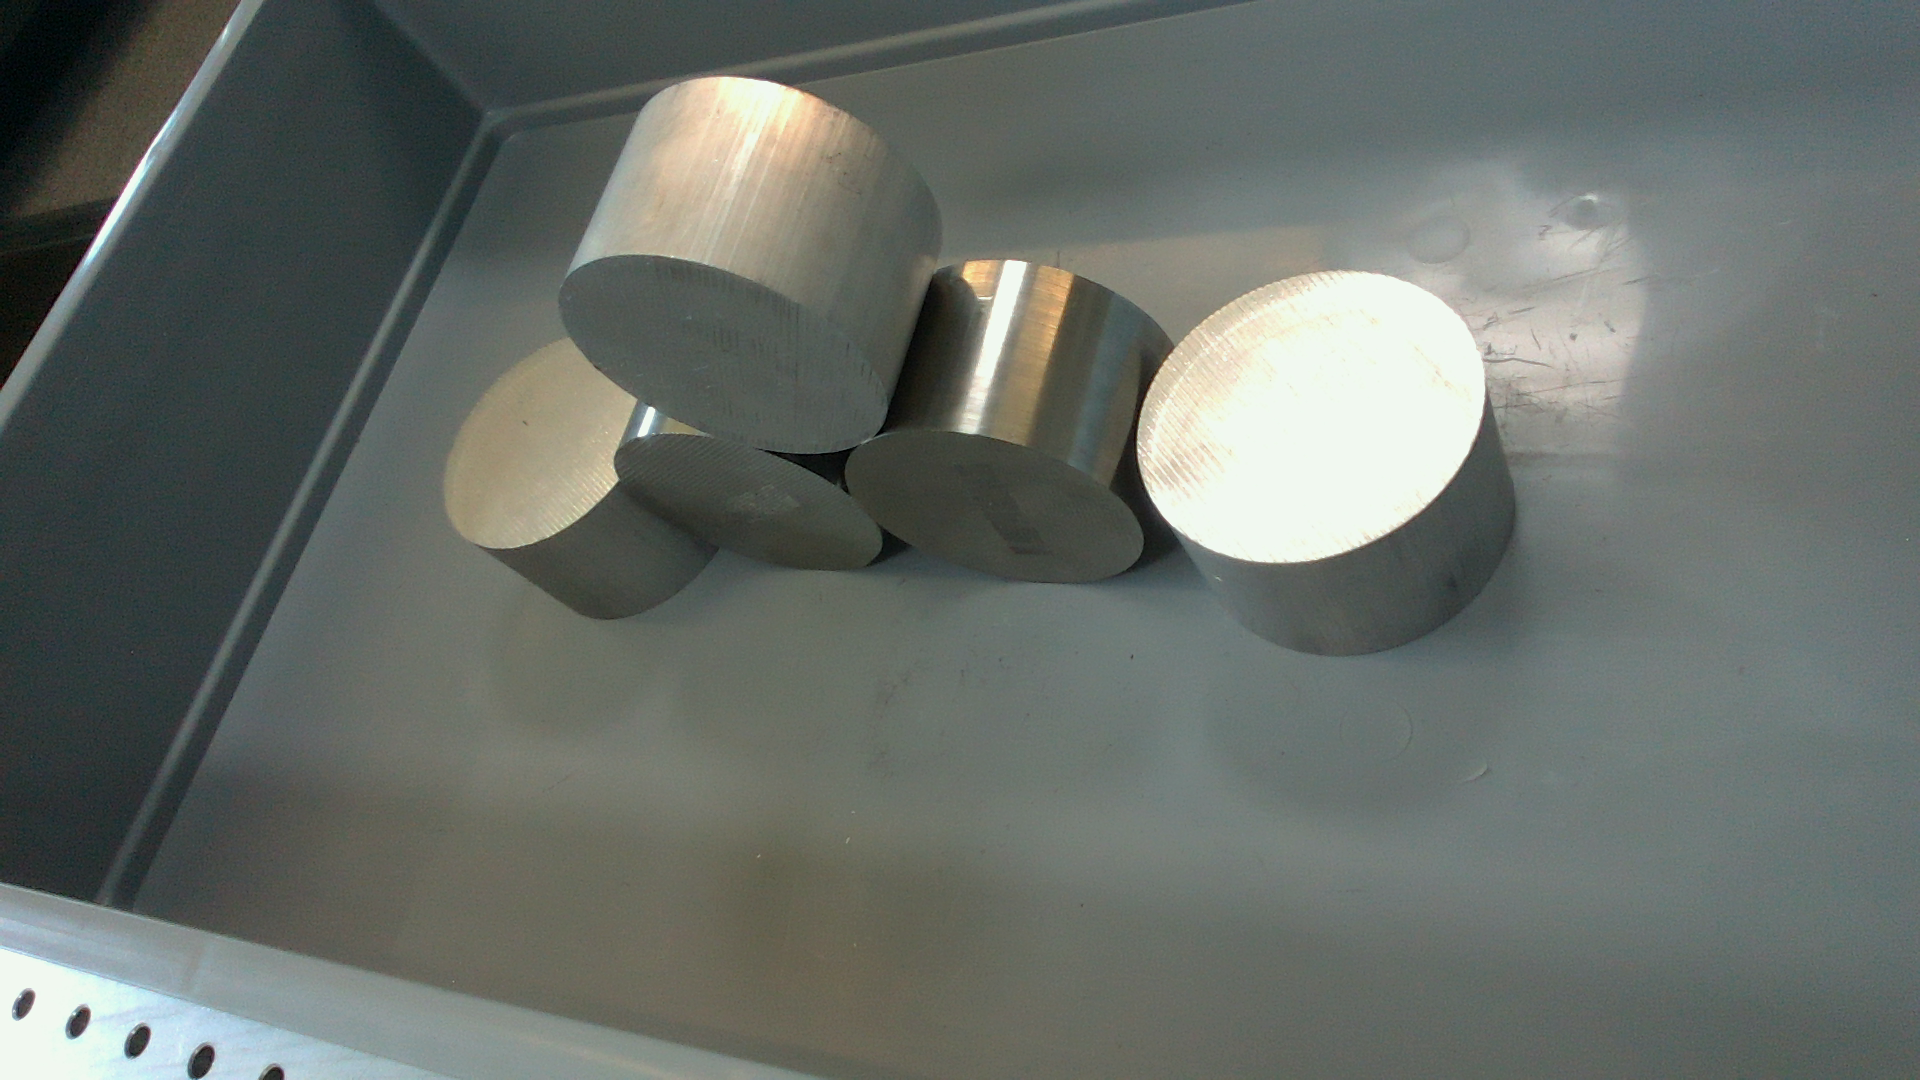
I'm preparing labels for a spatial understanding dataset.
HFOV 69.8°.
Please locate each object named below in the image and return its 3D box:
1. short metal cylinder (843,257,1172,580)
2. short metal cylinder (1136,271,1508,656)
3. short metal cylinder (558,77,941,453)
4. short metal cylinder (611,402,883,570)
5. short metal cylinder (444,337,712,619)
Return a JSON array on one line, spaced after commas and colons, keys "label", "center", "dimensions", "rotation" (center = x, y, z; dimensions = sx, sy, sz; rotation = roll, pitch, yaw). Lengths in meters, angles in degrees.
[{"label": "short metal cylinder", "center": [0.015, -0.030, 0.367], "dimensions": [0.080, 0.080, 0.050], "rotation": [2, 62, 29]}, {"label": "short metal cylinder", "center": [0.090, -0.018, 0.339], "dimensions": [0.080, 0.050, 0.080], "rotation": [-13, 56, 21]}, {"label": "short metal cylinder", "center": [-0.049, -0.064, 0.333], "dimensions": [0.080, 0.080, 0.050], "rotation": [2, 62, 29]}, {"label": "short metal cylinder", "center": [-0.055, -0.032, 0.406], "dimensions": [0.080, 0.080, 0.050], "rotation": [2, 62, 29]}, {"label": "short metal cylinder", "center": [-0.120, -0.021, 0.454], "dimensions": [0.080, 0.050, 0.080], "rotation": [-13, 56, 21]}]
